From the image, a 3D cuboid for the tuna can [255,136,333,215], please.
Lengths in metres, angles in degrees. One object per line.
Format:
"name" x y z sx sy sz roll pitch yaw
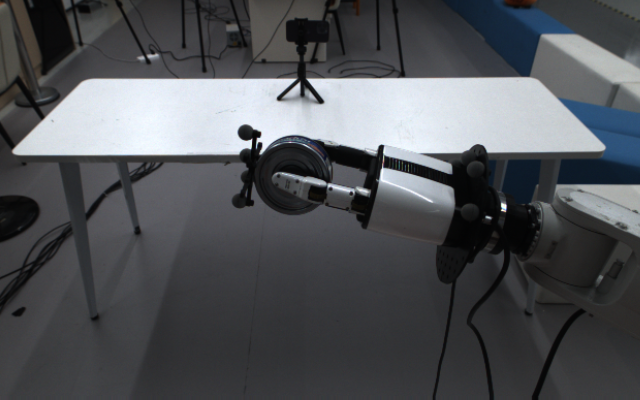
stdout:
"tuna can" -0.026 -0.024 0.539 0.085 0.085 0.034 4 18 3
